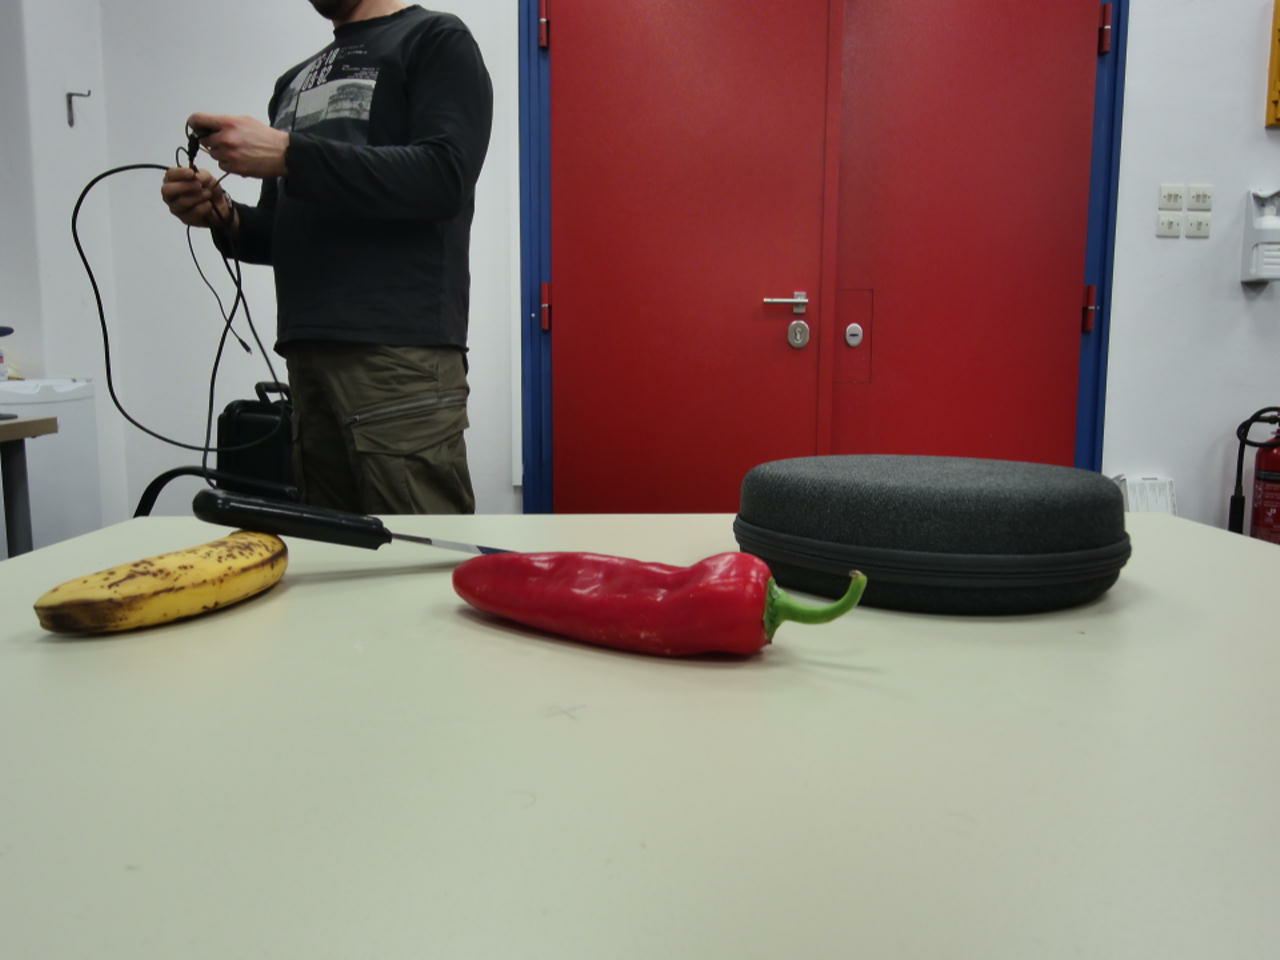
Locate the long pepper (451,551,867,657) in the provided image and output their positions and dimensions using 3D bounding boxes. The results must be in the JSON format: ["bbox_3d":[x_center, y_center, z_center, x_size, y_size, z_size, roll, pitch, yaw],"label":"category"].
[{"bbox_3d":[-0.007,0.050,0.440,0.211,0.043,0.050,2,5,31],"label":"long pepper"}]
